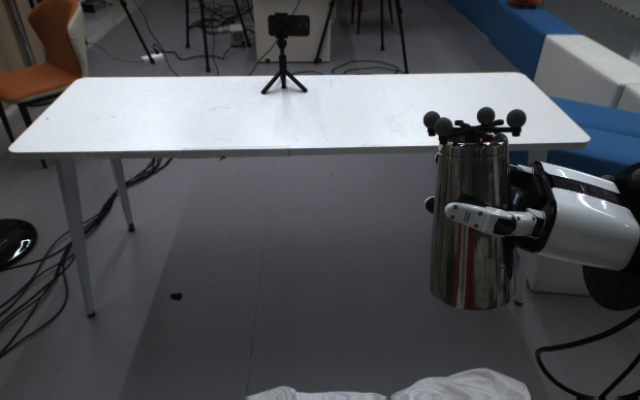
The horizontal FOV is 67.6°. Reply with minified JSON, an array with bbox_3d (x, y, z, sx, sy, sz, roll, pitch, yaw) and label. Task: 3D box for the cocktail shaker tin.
[{"bbox_3d":[0.162,0.018,0.511,0.093,0.170,0.093,-6,19,2],"label":"cocktail shaker tin"}]
